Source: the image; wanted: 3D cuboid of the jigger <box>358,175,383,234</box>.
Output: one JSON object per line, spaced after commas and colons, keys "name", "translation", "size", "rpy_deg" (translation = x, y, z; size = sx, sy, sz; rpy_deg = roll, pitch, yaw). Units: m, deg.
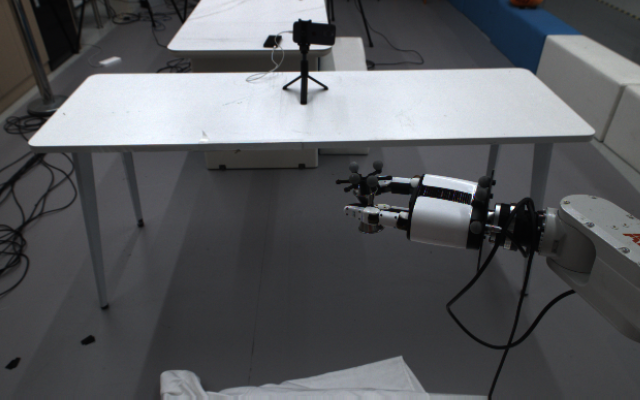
{"name": "jigger", "translation": [0.079, 0.012, 0.782], "size": [0.043, 0.071, 0.043], "rpy_deg": [-11, 23, 5]}
